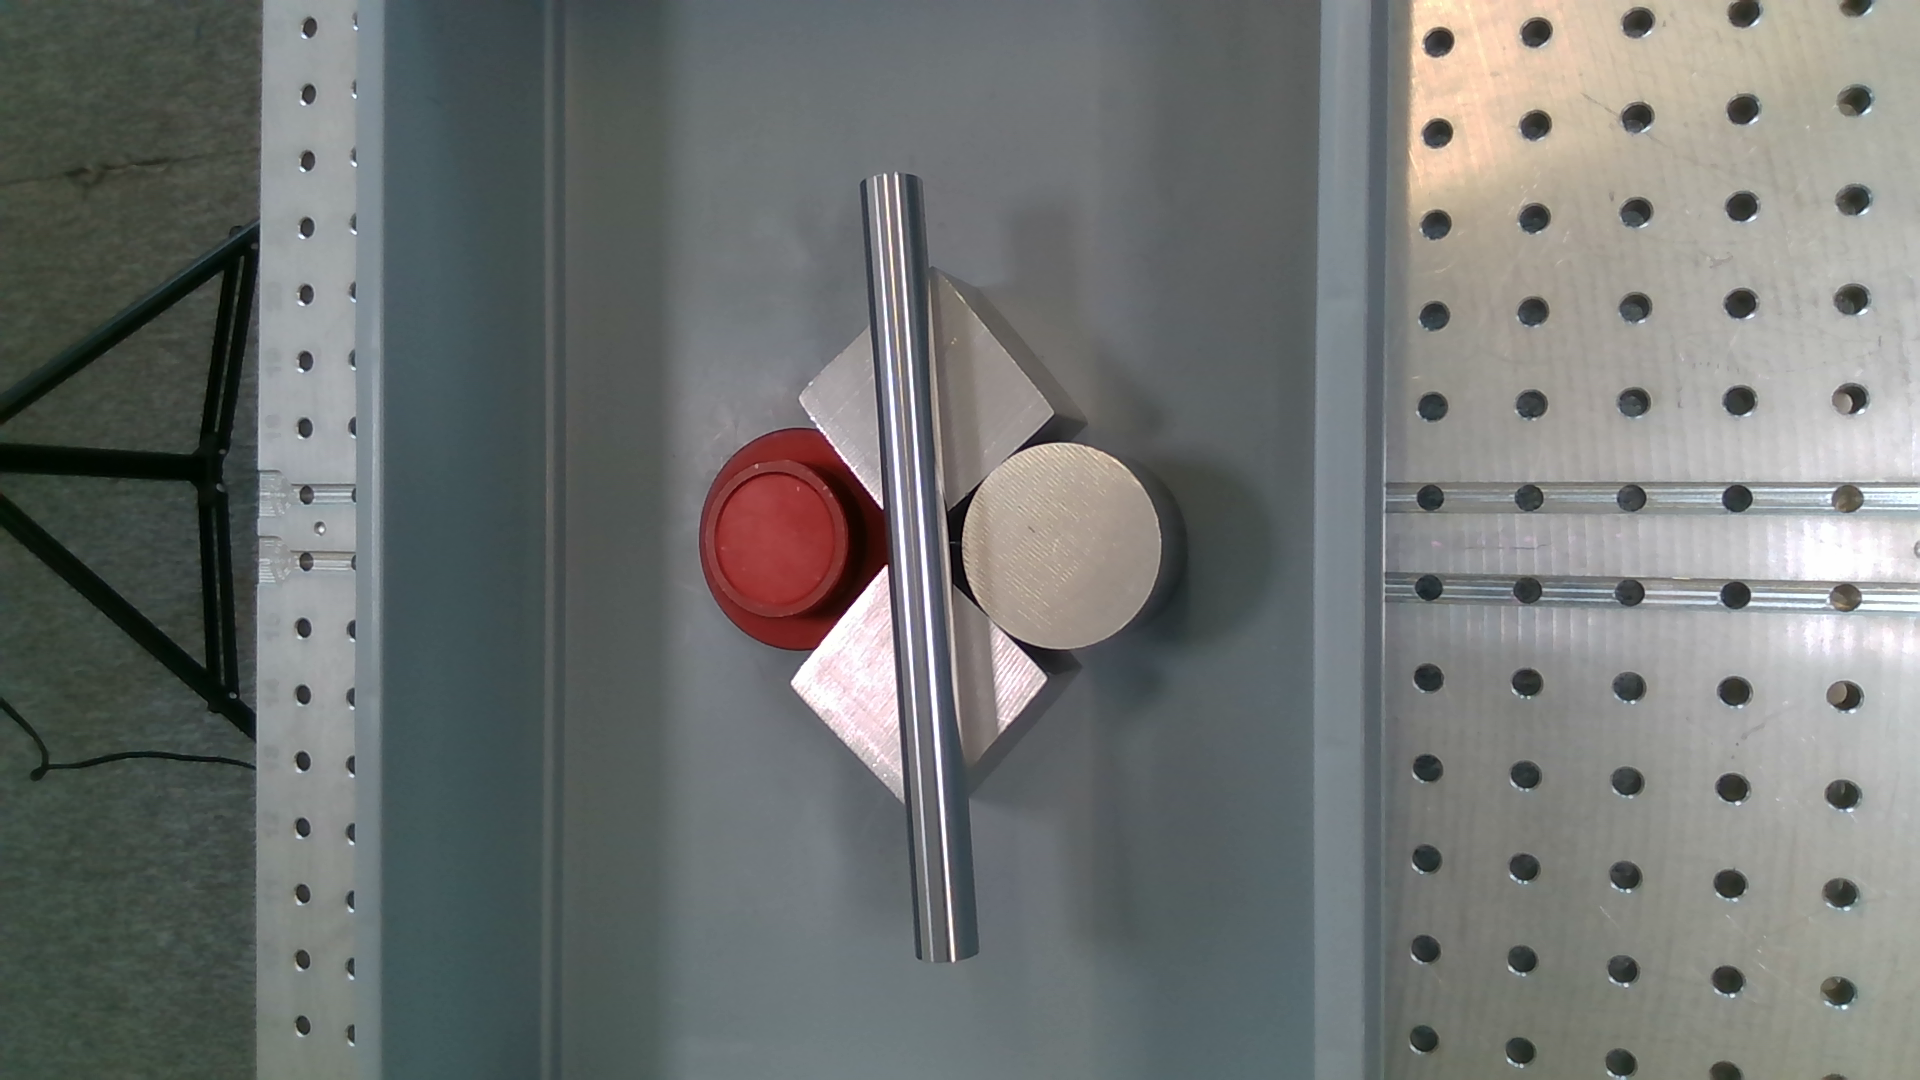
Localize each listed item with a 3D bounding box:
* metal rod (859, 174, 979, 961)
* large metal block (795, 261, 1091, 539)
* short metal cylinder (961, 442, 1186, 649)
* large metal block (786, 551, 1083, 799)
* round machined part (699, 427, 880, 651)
[{"bbox_3d":[-0.017,0.010,0.535,0.025,0.025,0.300,-5,88,20],"label":"metal rod"},{"bbox_3d":[-0.007,-0.055,0.573,0.080,0.050,0.080,-42,77,17],"label":"large metal block"},{"bbox_3d":[0.046,0.002,0.554,0.080,0.050,0.080,0,91,20],"label":"short metal cylinder"},{"bbox_3d":[-0.010,0.057,0.573,0.080,0.050,0.080,44,104,16],"label":"large metal block"},{"bbox_3d":[-0.073,0.000,0.602,0.098,0.042,0.098,0,91,20],"label":"round machined part"}]
